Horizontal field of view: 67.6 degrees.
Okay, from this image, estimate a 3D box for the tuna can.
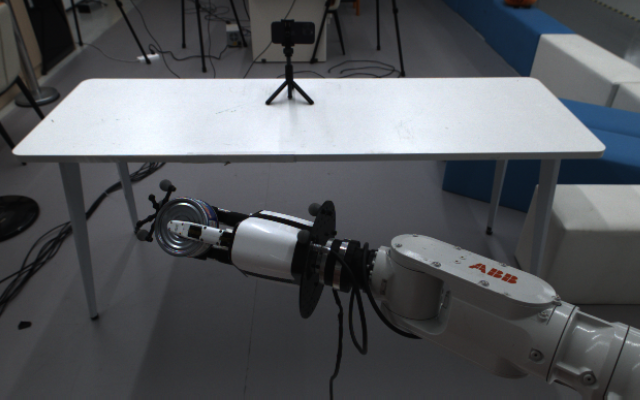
[{"bbox_3d":[-0.188,0.038,0.686,0.085,0.085,0.034,12,-3,15],"label":"tuna can"}]
